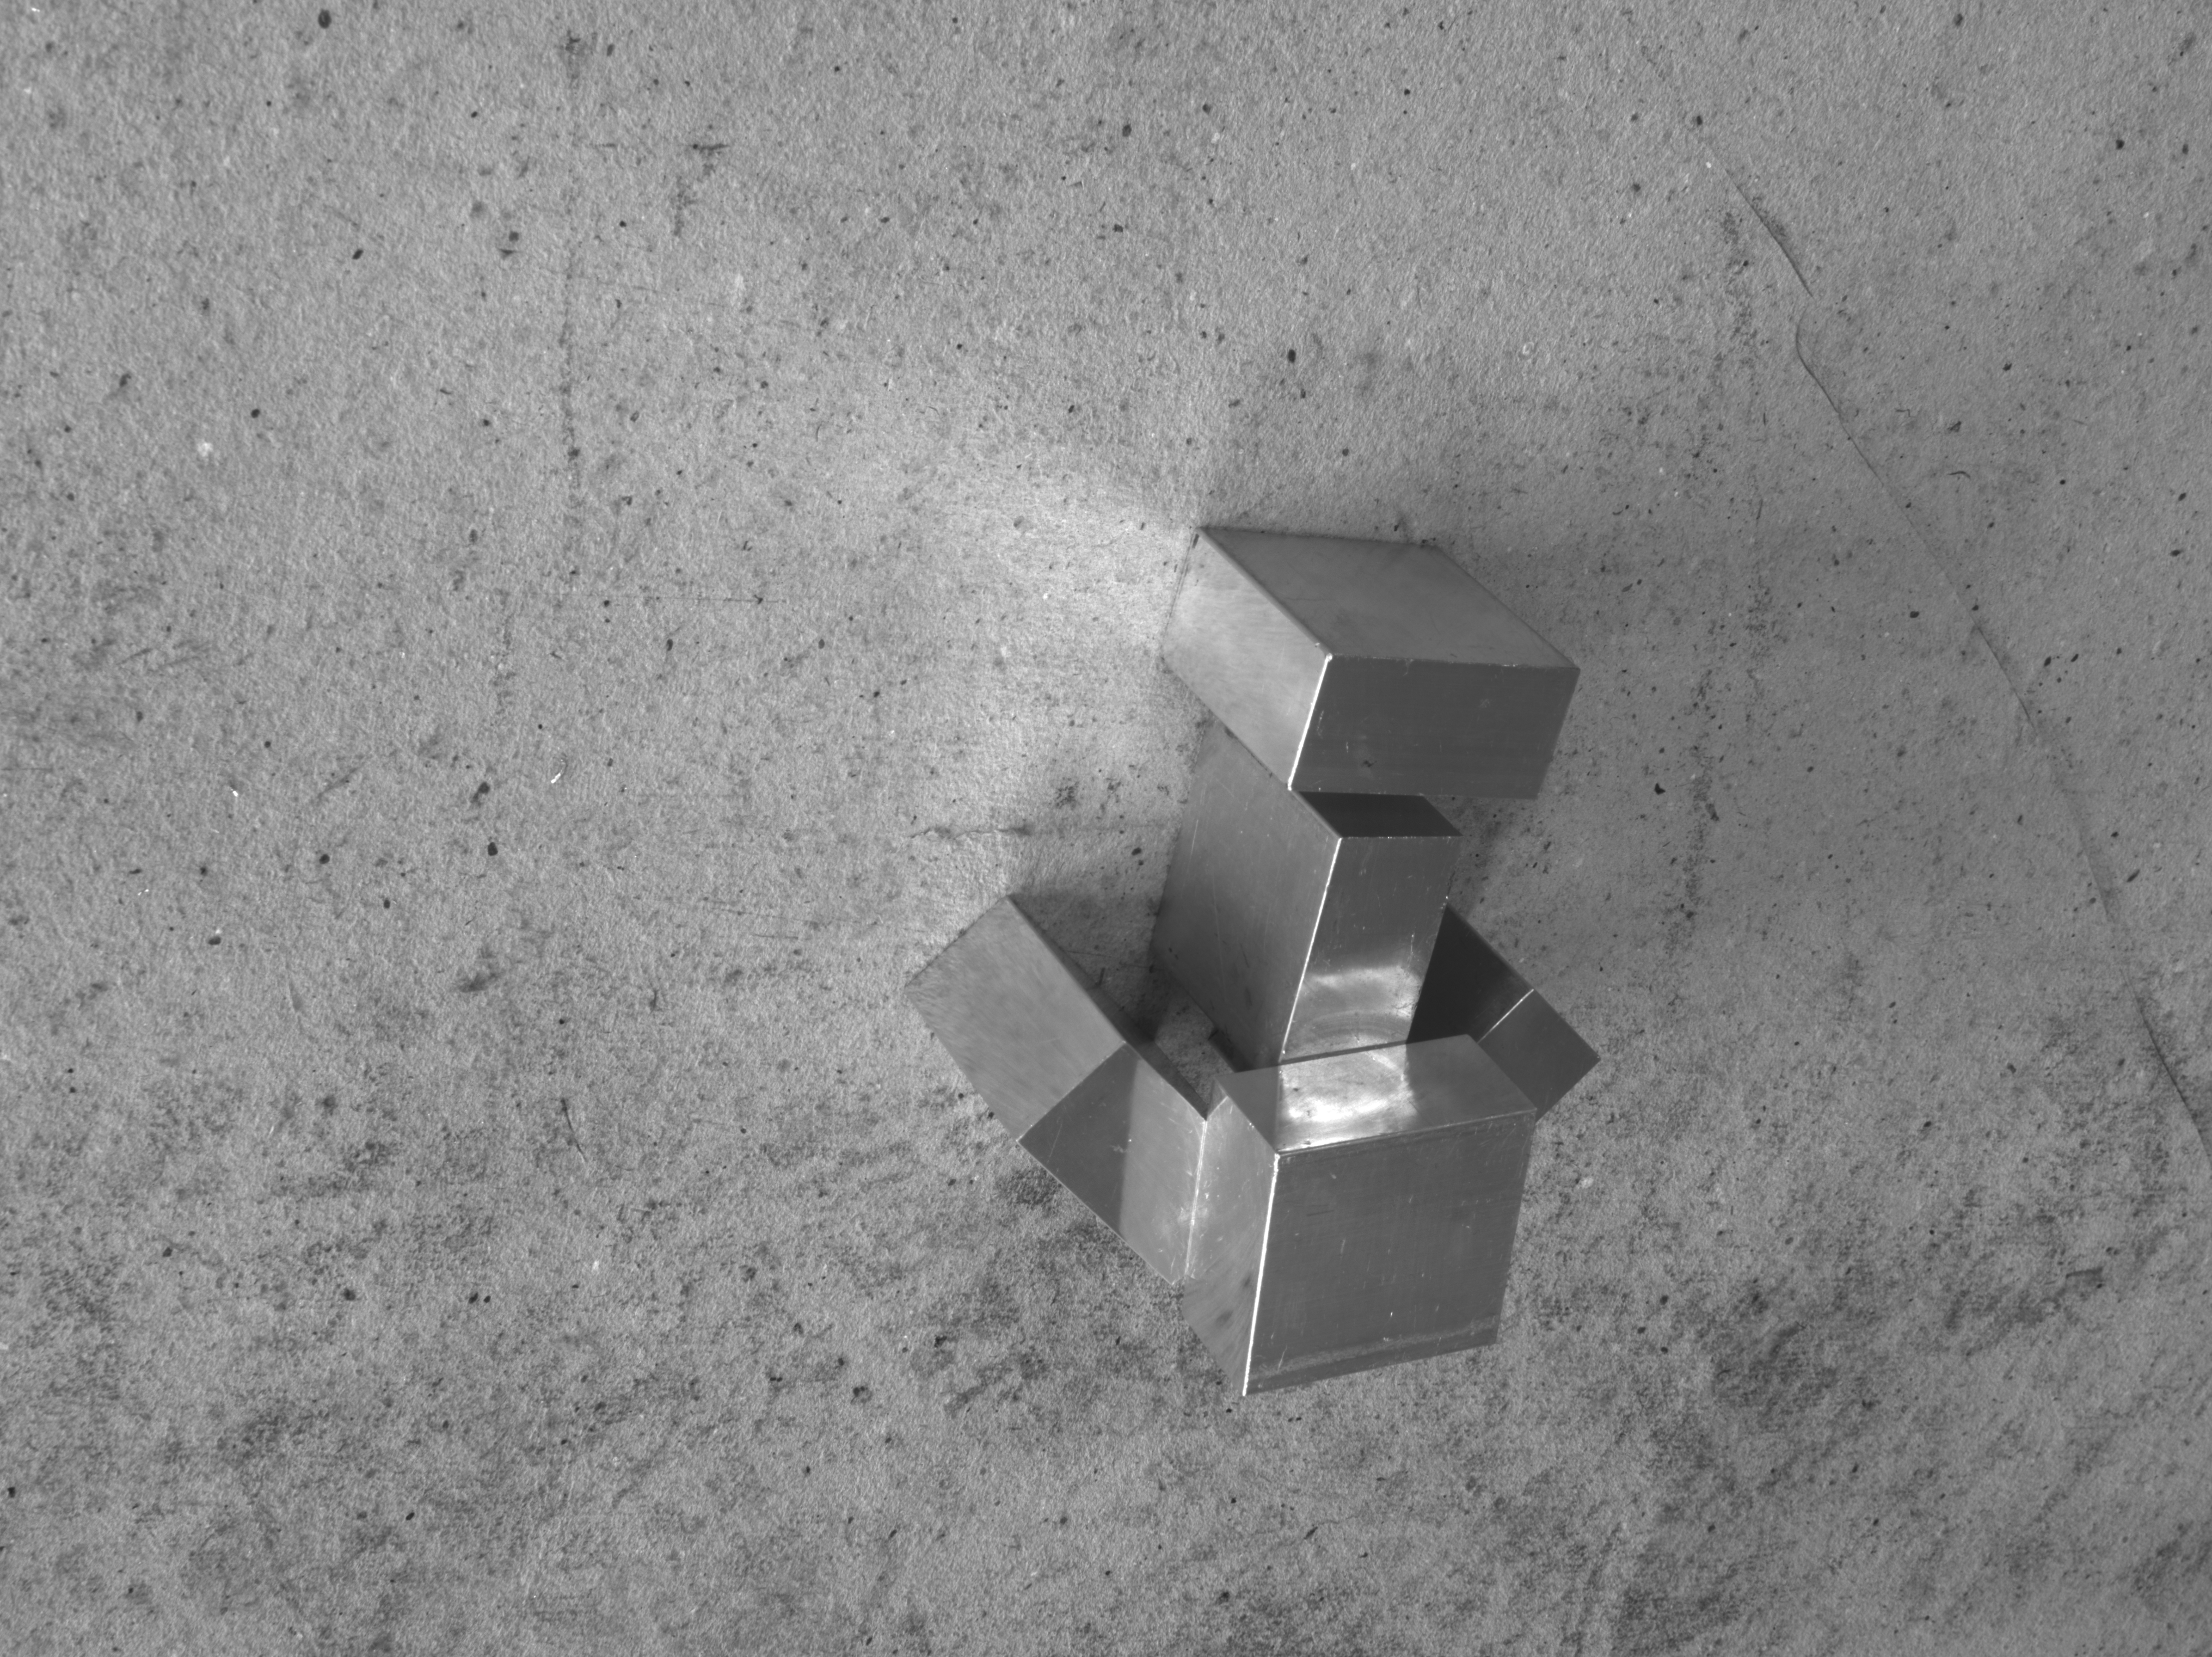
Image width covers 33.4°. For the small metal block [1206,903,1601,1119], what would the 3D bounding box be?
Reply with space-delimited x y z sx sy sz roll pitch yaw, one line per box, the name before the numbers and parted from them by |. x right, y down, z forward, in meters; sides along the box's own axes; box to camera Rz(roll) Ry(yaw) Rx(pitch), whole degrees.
small metal block | 0.054 0.041 0.676 0.050 0.050 0.025 -45 129 3

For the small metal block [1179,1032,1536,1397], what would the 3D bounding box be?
small metal block | 0.043 0.066 0.638 0.050 0.025 0.050 -8 121 -24

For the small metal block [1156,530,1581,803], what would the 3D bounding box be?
small metal block | 0.044 -0.028 0.628 0.050 0.050 0.025 2 117 -29

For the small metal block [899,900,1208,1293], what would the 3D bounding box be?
small metal block | -0.003 0.047 0.648 0.025 0.050 0.050 -43 130 1

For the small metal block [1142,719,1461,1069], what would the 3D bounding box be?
small metal block | 0.033 0.012 0.648 0.025 0.050 0.050 -1 118 -28
